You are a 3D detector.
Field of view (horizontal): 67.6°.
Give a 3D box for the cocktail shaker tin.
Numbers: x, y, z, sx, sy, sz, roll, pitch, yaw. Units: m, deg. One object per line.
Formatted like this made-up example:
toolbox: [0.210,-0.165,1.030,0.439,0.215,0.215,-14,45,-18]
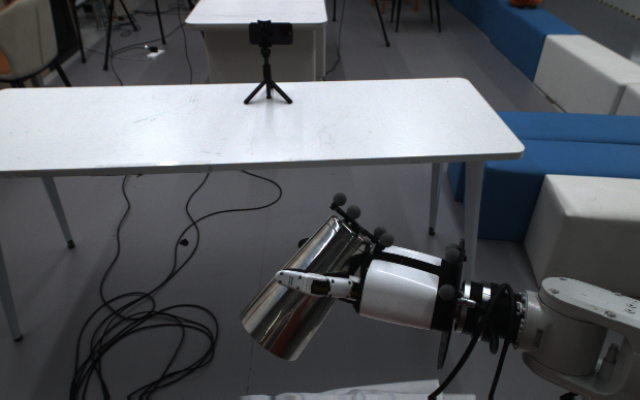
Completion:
cocktail shaker tin: [-0.010,0.102,0.609,0.170,0.093,0.093,-50,47,3]
